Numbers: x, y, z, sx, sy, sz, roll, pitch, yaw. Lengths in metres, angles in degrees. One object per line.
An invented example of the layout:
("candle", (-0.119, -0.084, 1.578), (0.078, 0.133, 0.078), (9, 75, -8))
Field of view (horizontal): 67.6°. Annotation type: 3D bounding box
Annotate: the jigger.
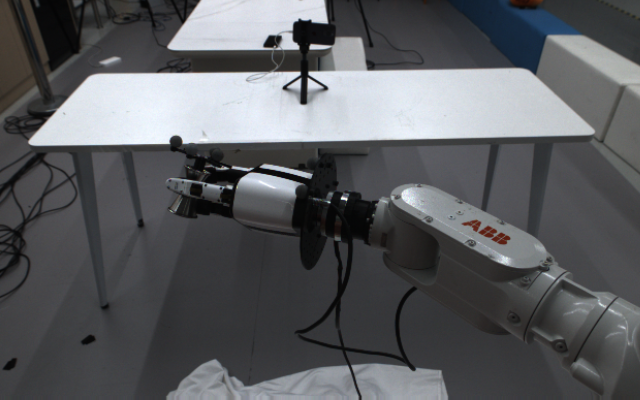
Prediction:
("jigger", (-0.185, -0.013, 0.685), (0.043, 0.071, 0.043), (21, 6, -2))
